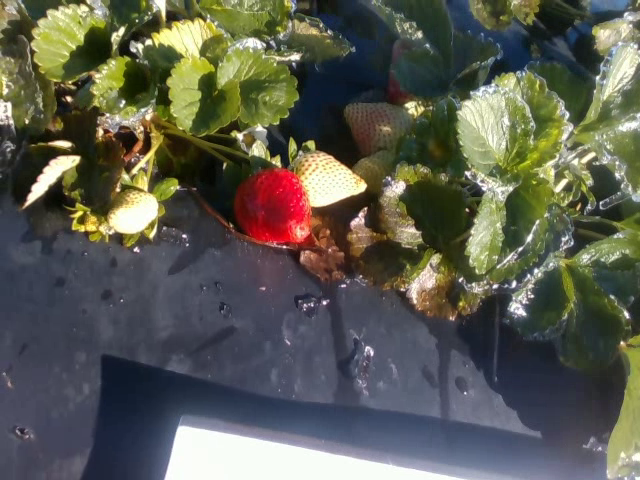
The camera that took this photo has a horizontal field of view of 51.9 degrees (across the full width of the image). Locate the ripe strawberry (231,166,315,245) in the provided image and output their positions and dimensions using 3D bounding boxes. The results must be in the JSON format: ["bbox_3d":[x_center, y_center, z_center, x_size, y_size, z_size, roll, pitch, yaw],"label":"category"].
[{"bbox_3d":[-0.018,-0.012,0.295,0.040,0.042,0.053,-24,32,-13],"label":"ripe strawberry"}]
